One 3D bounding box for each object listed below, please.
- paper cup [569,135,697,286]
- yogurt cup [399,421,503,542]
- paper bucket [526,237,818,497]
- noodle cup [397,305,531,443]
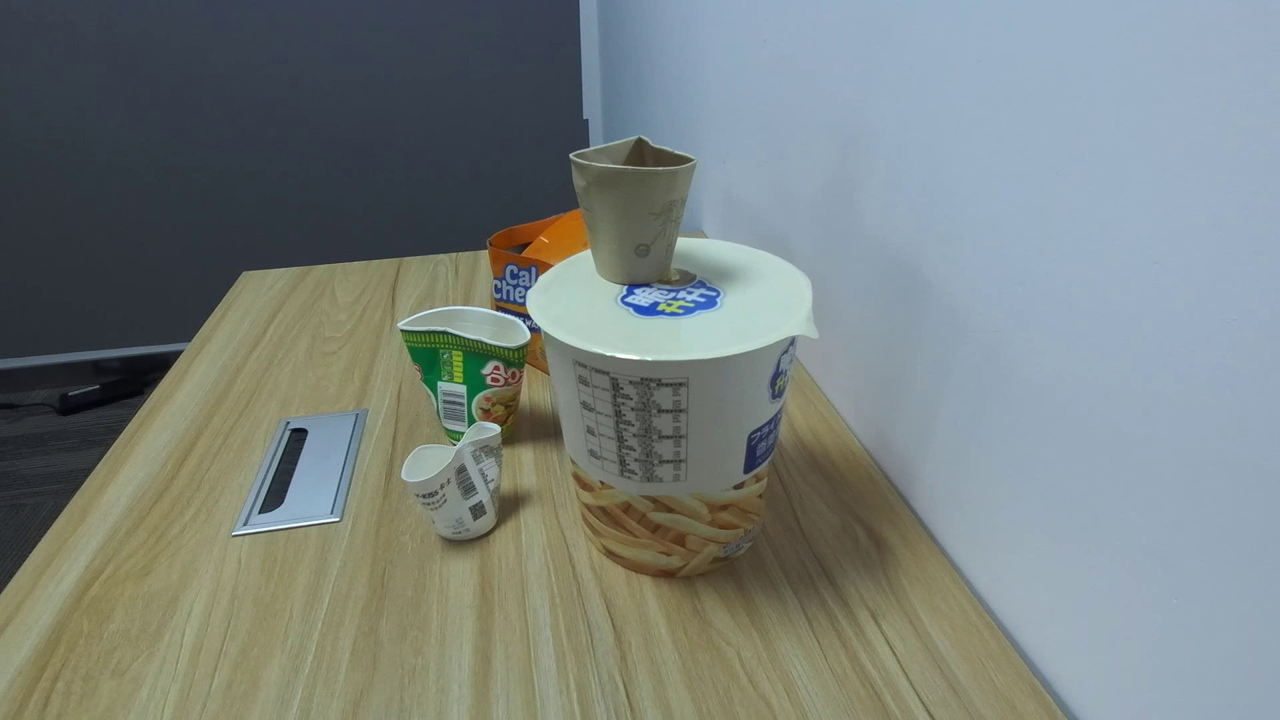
[{"bbox_3d":[-0.005,-0.098,0.475,0.066,0.084,0.071,-23,40,-32],"label":"paper cup"},{"bbox_3d":[-0.139,0.095,0.545,0.053,0.071,0.075,7,33,12],"label":"yogurt cup"},{"bbox_3d":[0.023,0.034,0.518,0.198,0.195,0.198,-1,31,1],"label":"paper bucket"},{"bbox_3d":[-0.150,0.016,0.638,0.114,0.111,0.070,24,41,34],"label":"noodle cup"}]
